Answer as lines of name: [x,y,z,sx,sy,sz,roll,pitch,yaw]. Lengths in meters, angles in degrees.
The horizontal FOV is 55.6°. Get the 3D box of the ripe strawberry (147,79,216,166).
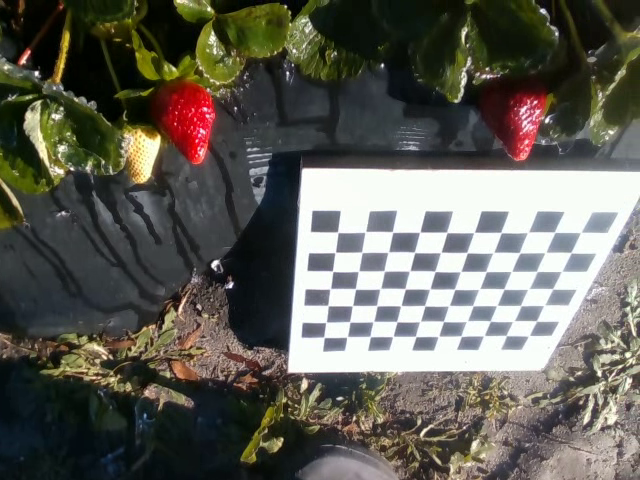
ripe strawberry: [-0.090,-0.078,0.417,0.043,0.061,0.046,-10,2,4]

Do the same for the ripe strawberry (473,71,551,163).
ripe strawberry: [0.139,-0.081,0.427,0.049,0.061,0.044,-5,11,-1]
